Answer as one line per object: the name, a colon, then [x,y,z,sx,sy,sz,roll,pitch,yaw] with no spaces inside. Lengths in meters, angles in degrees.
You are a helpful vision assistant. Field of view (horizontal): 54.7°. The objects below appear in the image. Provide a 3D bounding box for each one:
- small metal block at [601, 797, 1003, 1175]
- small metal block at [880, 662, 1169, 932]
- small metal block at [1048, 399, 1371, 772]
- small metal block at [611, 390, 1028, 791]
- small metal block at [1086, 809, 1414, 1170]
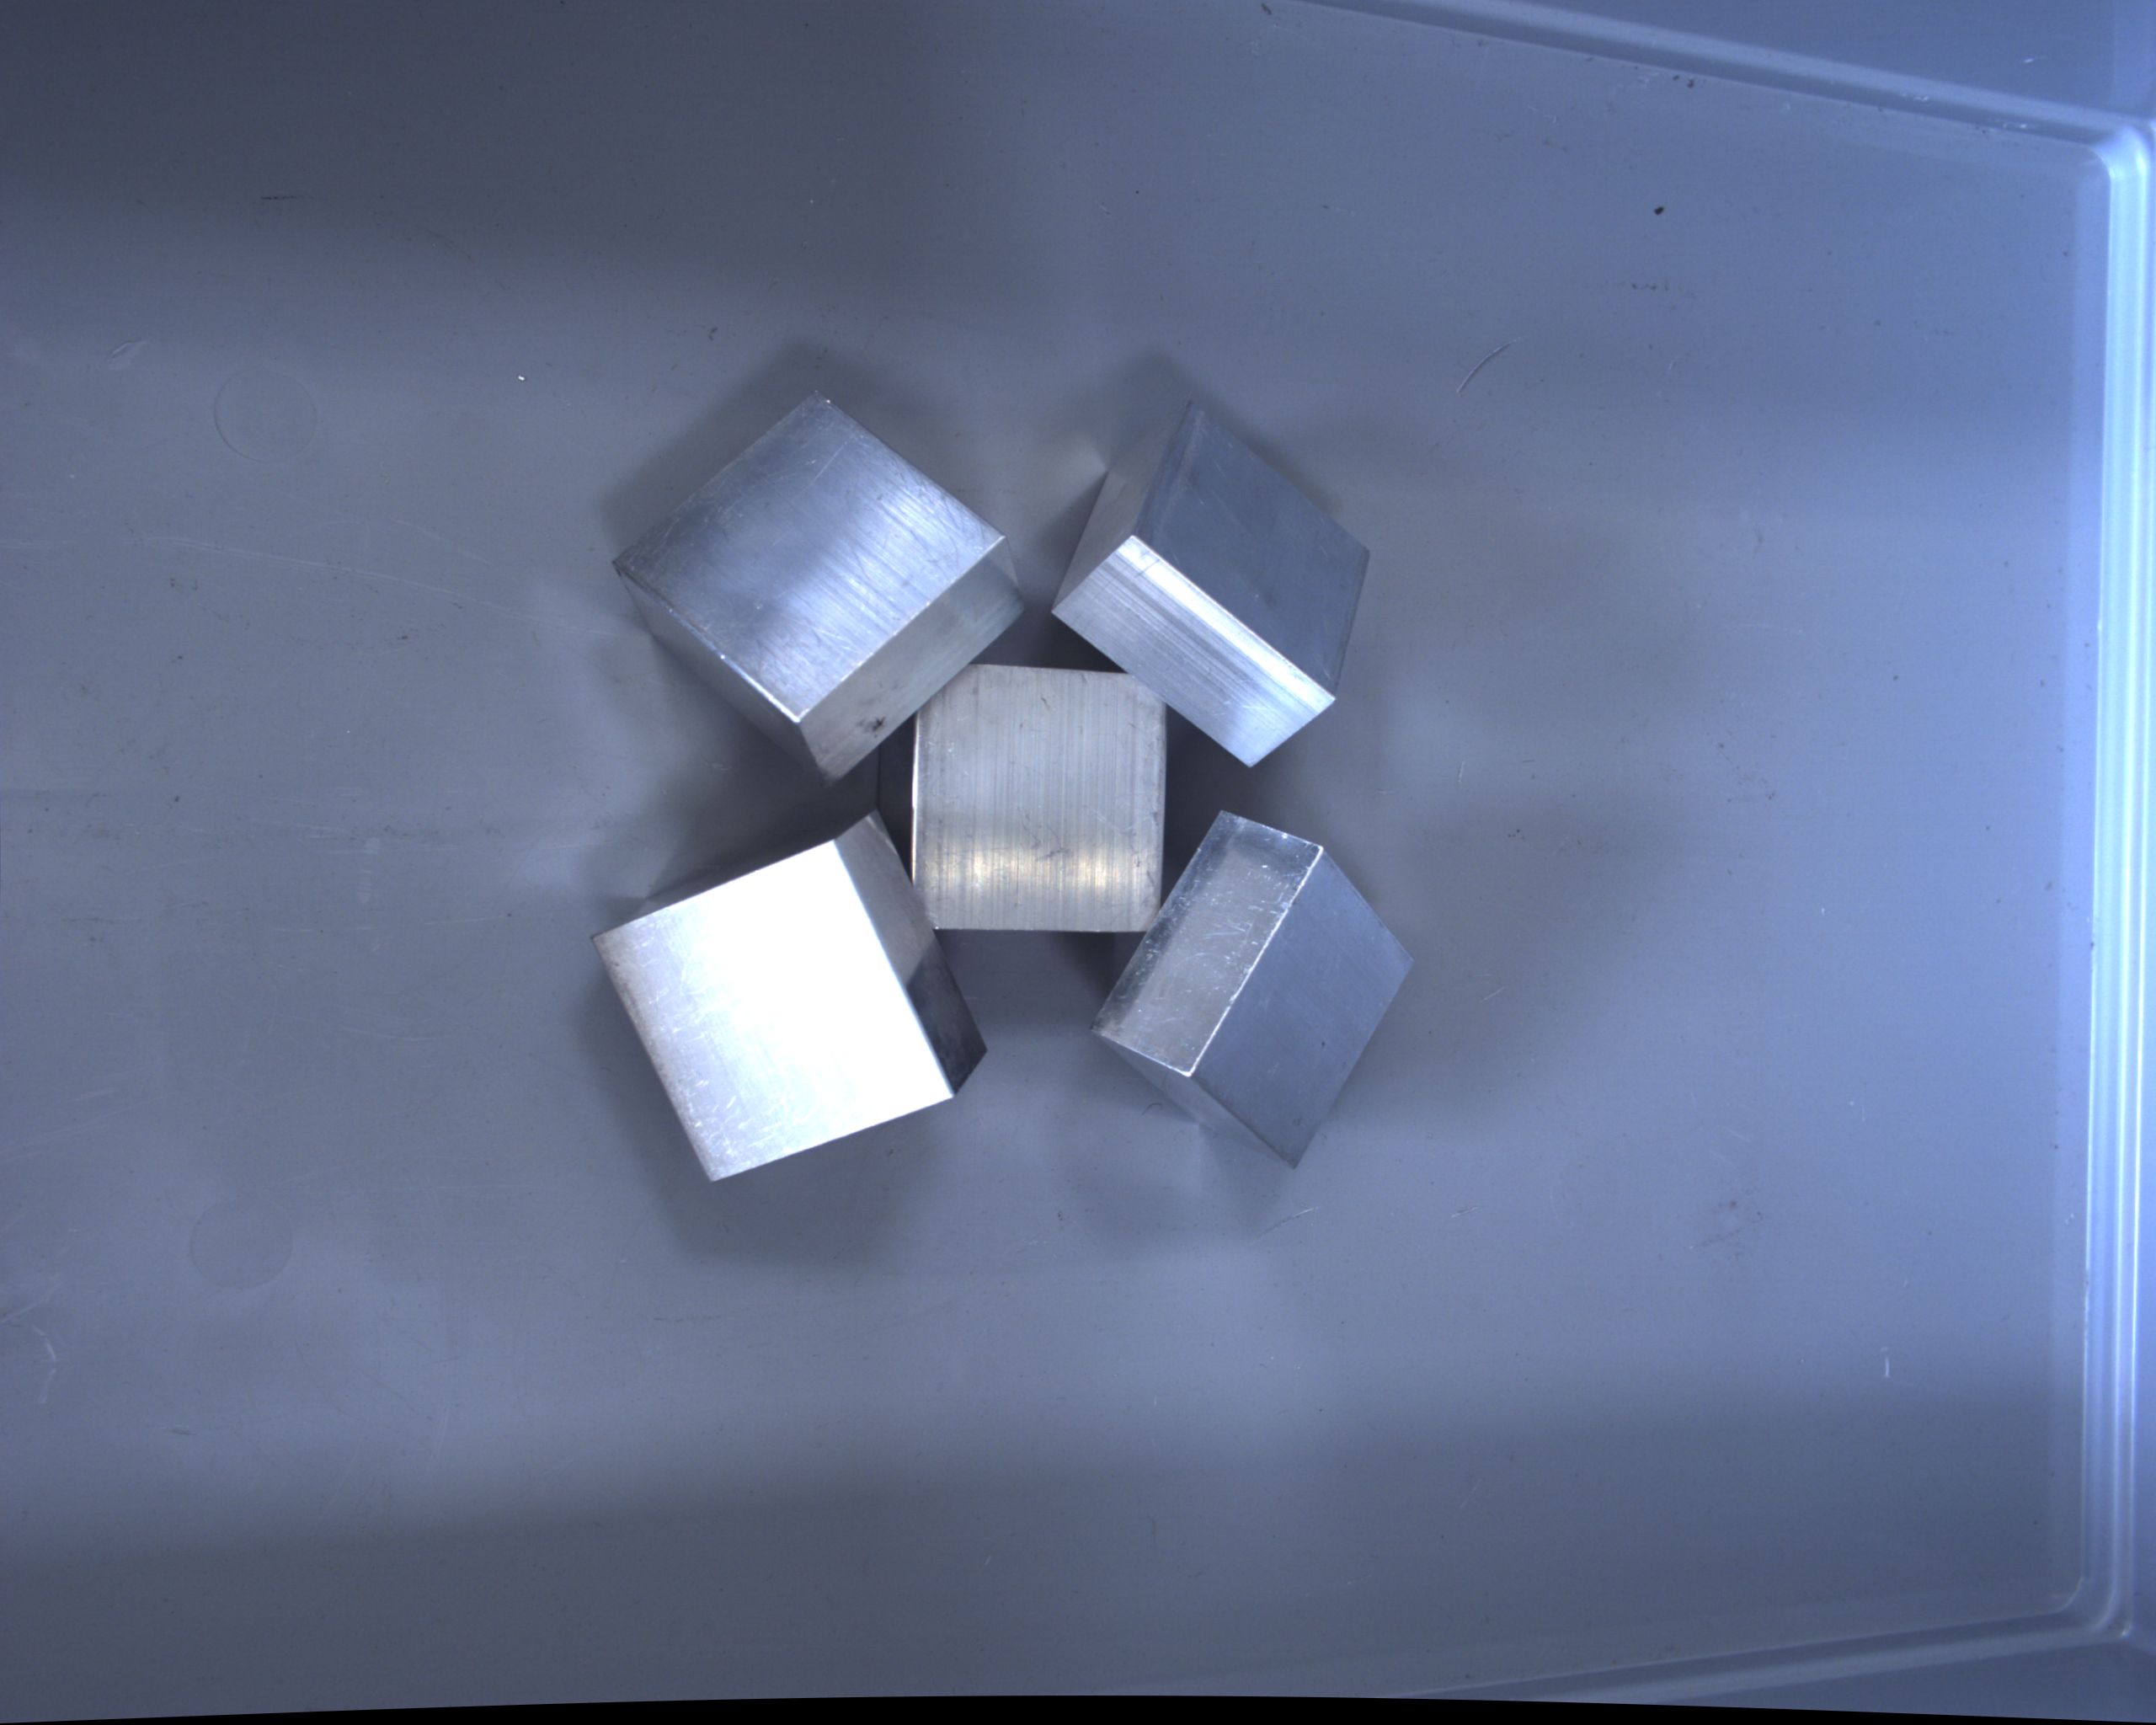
small metal block: [-0.049,0.022,0.378,0.050,0.025,0.050,-21,99,19]
small metal block: [-0.011,-0.012,0.404,0.050,0.025,0.050,2,90,-20]
small metal block: [0.027,-0.054,0.405,0.050,0.025,0.050,37,41,-17]
small metal block: [-0.046,-0.050,0.378,0.050,0.025,0.050,40,75,23]
small metal block: [0.035,0.026,0.409,0.050,0.025,0.050,-58,141,-11]
